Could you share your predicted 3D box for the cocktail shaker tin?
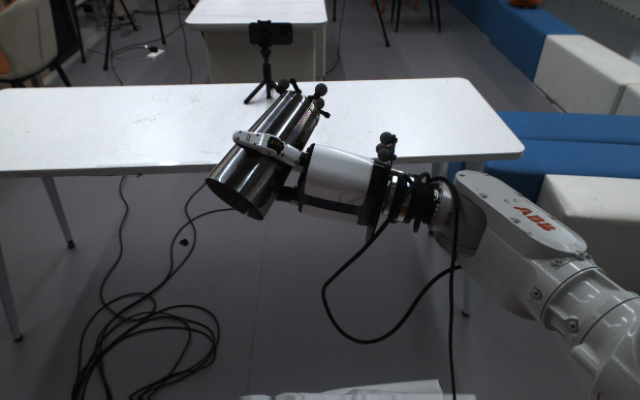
[{"bbox_3d":[-0.071,-0.071,0.668,0.093,0.093,0.170,22,67,26],"label":"cocktail shaker tin"}]
